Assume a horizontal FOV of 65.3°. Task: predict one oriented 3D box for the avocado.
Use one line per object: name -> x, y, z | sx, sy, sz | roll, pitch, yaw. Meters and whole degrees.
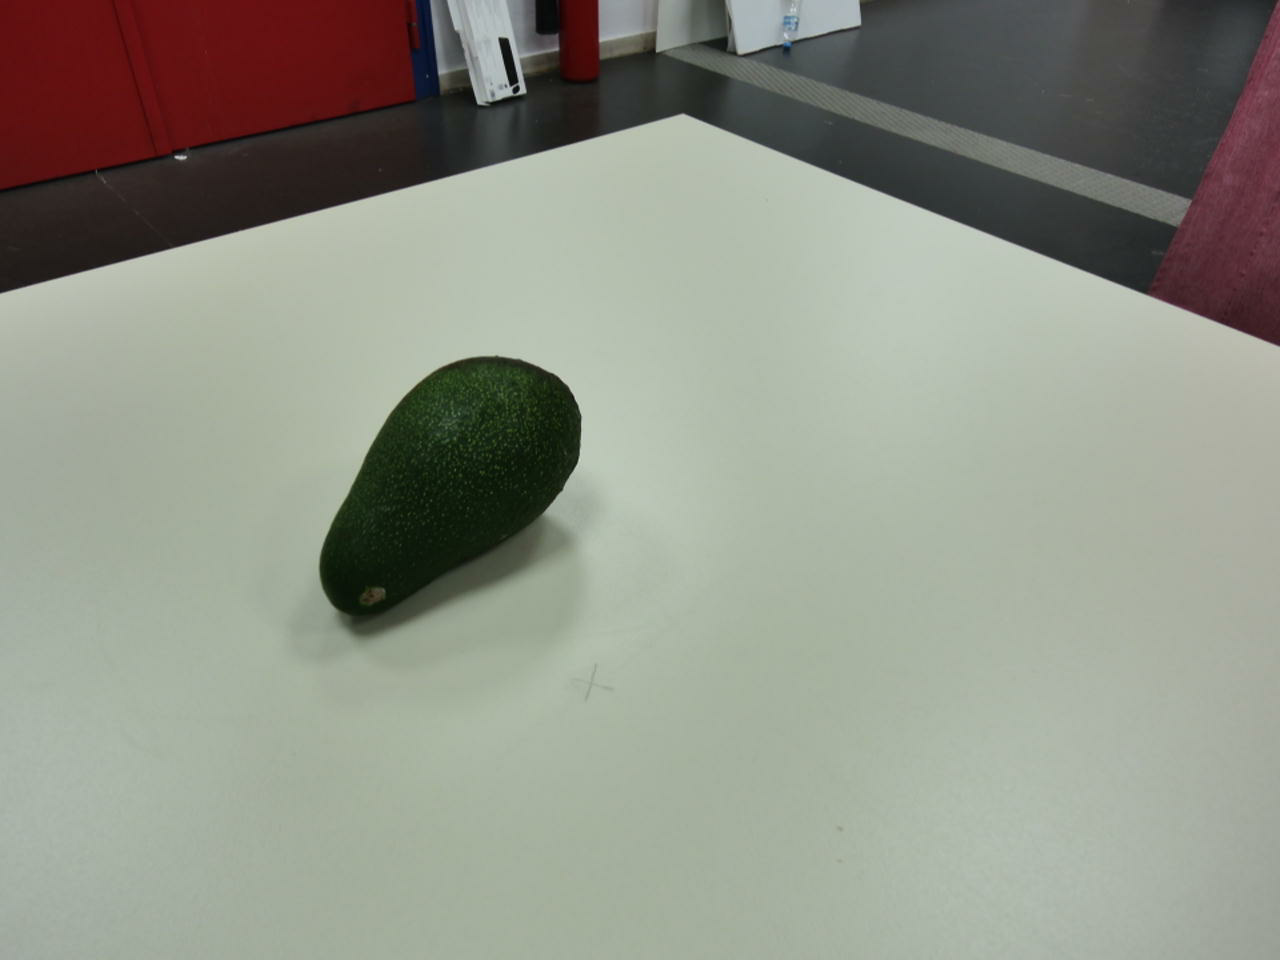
avocado -> -0.079, -0.006, 0.403 | 0.123, 0.076, 0.074 | -21, 42, -27
